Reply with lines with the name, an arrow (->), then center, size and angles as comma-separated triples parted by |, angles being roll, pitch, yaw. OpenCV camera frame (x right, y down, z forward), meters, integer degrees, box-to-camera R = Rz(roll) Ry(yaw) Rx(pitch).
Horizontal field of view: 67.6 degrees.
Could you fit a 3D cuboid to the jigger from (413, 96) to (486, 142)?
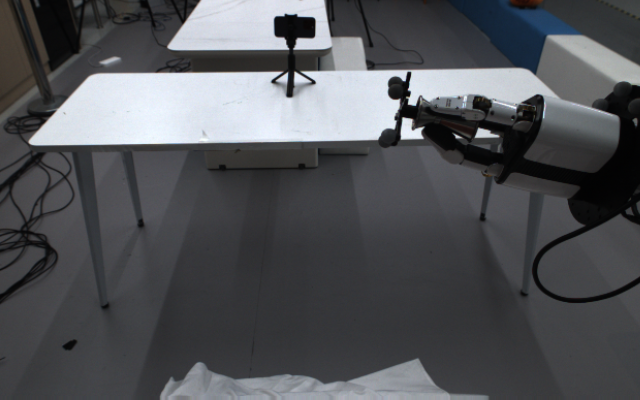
jigger -> 0.150, -0.096, 0.555 | 0.071, 0.043, 0.043 | 11, 35, 2
